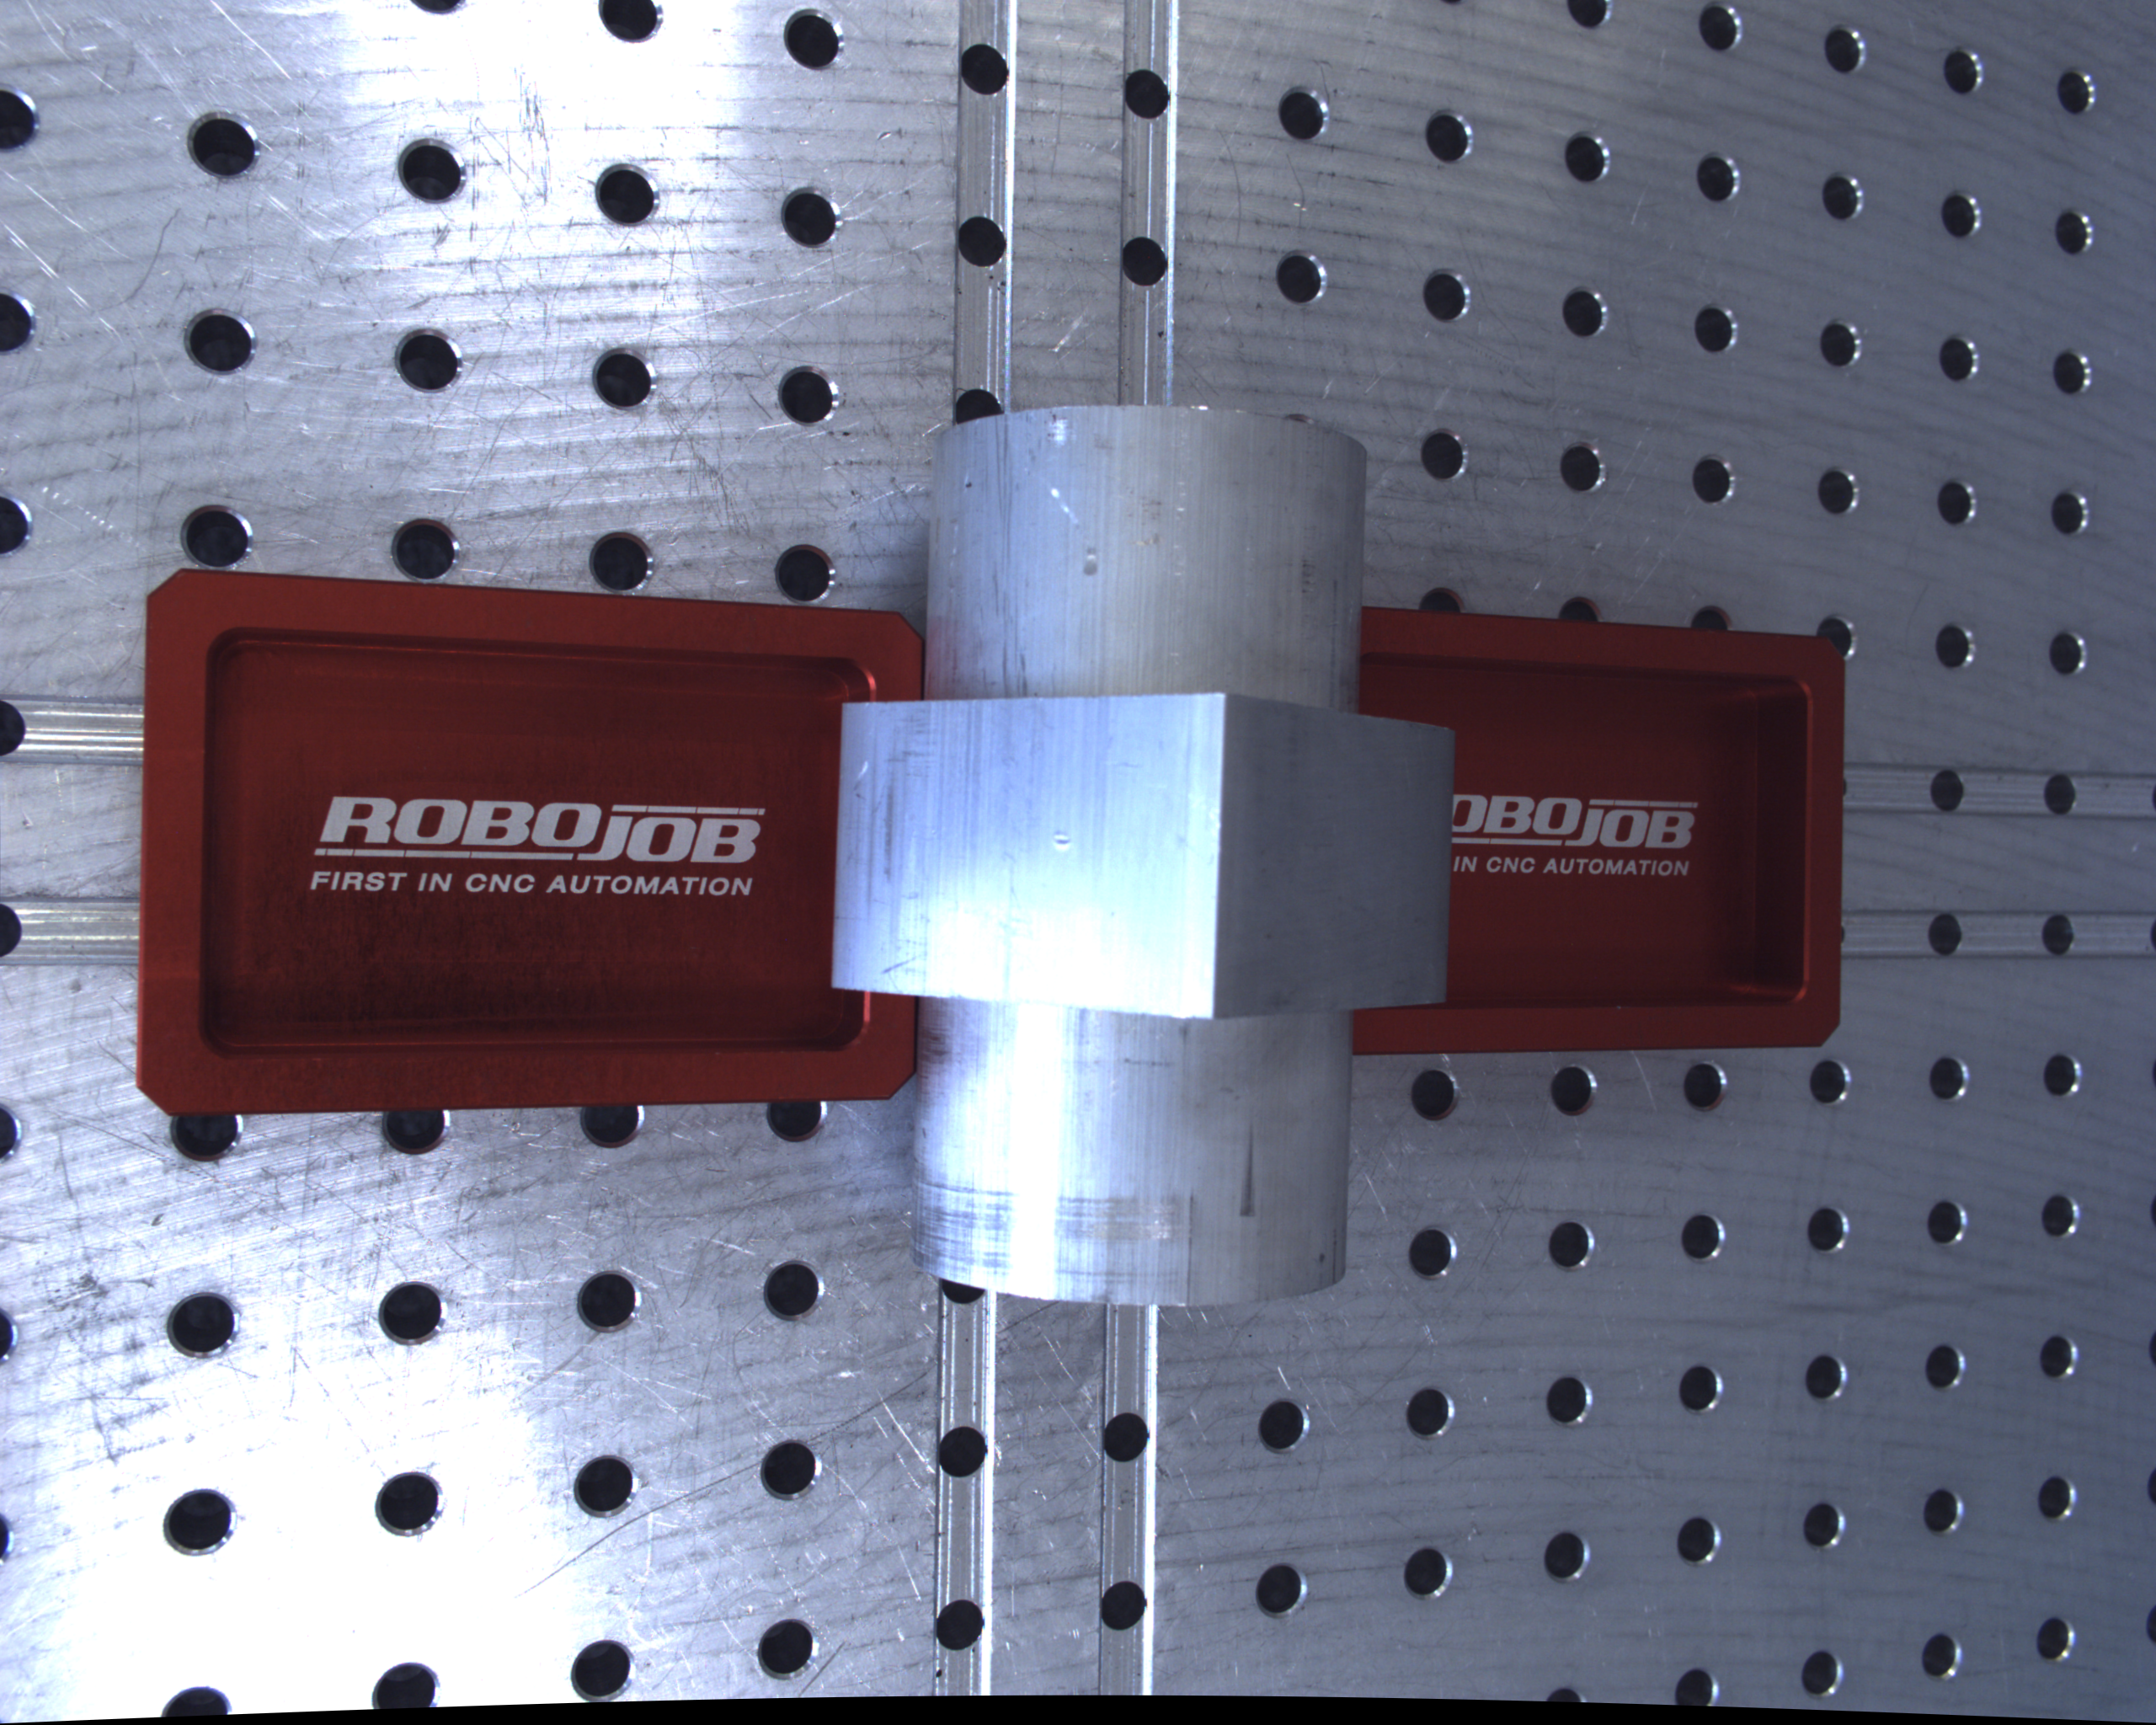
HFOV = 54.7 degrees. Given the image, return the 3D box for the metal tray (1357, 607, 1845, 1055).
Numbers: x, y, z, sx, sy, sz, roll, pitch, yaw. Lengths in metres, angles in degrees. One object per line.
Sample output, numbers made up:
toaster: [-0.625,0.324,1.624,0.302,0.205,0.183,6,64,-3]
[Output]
metal tray: [0.101,-0.006,0.447,0.131,0.030,0.089,1,90,-20]

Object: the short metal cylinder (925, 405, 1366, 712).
short metal cylinder: [0.012,-0.051,0.387,0.081,0.080,0.050,1,90,-20]

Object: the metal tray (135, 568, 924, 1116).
metal tray: [-0.095,-0.002,0.374,0.131,0.030,0.089,1,90,-20]

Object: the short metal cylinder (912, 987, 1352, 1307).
short metal cylinder: [0.010,0.049,0.387,0.081,0.080,0.050,2,90,-20]

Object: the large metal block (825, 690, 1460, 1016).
large metal block: [0.013,-0.001,0.373,0.080,0.080,0.050,3,88,-54]
